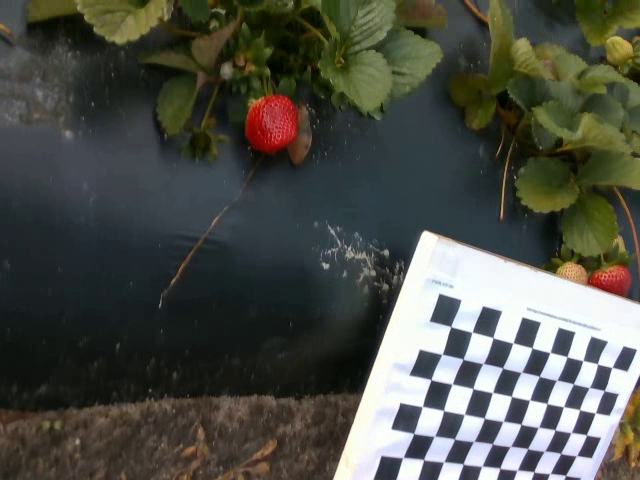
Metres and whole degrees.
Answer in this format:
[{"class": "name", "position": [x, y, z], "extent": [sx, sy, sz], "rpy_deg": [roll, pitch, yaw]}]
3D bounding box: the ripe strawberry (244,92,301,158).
[{"class": "ripe strawberry", "position": [-0.033, -0.085, 0.532], "extent": [0.050, 0.049, 0.053], "rpy_deg": [7, 31, -31]}]
